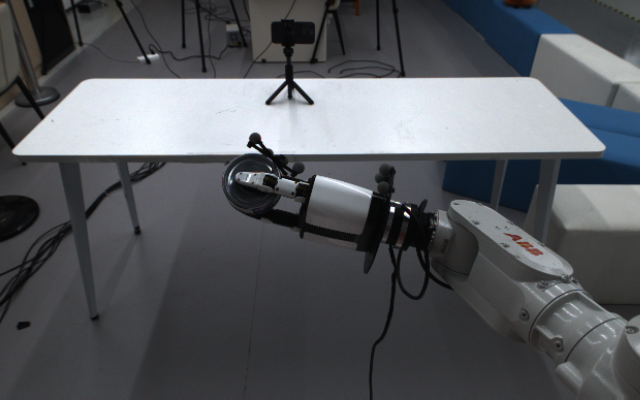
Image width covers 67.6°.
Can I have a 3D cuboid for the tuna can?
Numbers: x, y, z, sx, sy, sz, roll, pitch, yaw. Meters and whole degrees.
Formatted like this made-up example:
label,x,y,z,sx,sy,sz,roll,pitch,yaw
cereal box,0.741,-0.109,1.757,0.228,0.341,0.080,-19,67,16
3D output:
label,x,y,z,sx,sy,sz,roll,pitch,yaw
tuna can,-0.093,-0.017,0.696,0.085,0.034,0.085,0,73,-1
